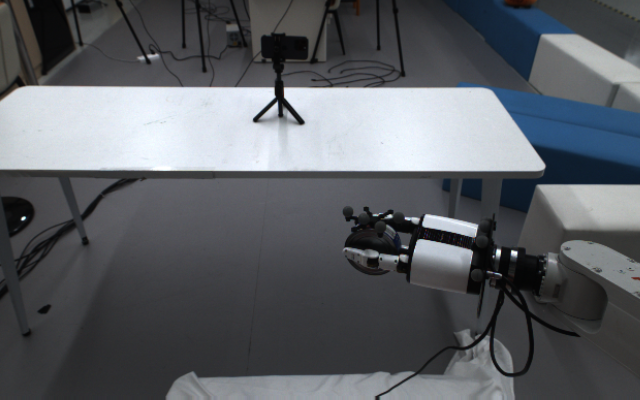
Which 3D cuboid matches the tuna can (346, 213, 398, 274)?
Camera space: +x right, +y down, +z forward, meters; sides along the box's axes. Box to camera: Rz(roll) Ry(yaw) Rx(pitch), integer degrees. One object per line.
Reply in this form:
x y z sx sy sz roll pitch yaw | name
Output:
0.086 0.073 0.764 0.085 0.085 0.034 14 29 16 | tuna can
